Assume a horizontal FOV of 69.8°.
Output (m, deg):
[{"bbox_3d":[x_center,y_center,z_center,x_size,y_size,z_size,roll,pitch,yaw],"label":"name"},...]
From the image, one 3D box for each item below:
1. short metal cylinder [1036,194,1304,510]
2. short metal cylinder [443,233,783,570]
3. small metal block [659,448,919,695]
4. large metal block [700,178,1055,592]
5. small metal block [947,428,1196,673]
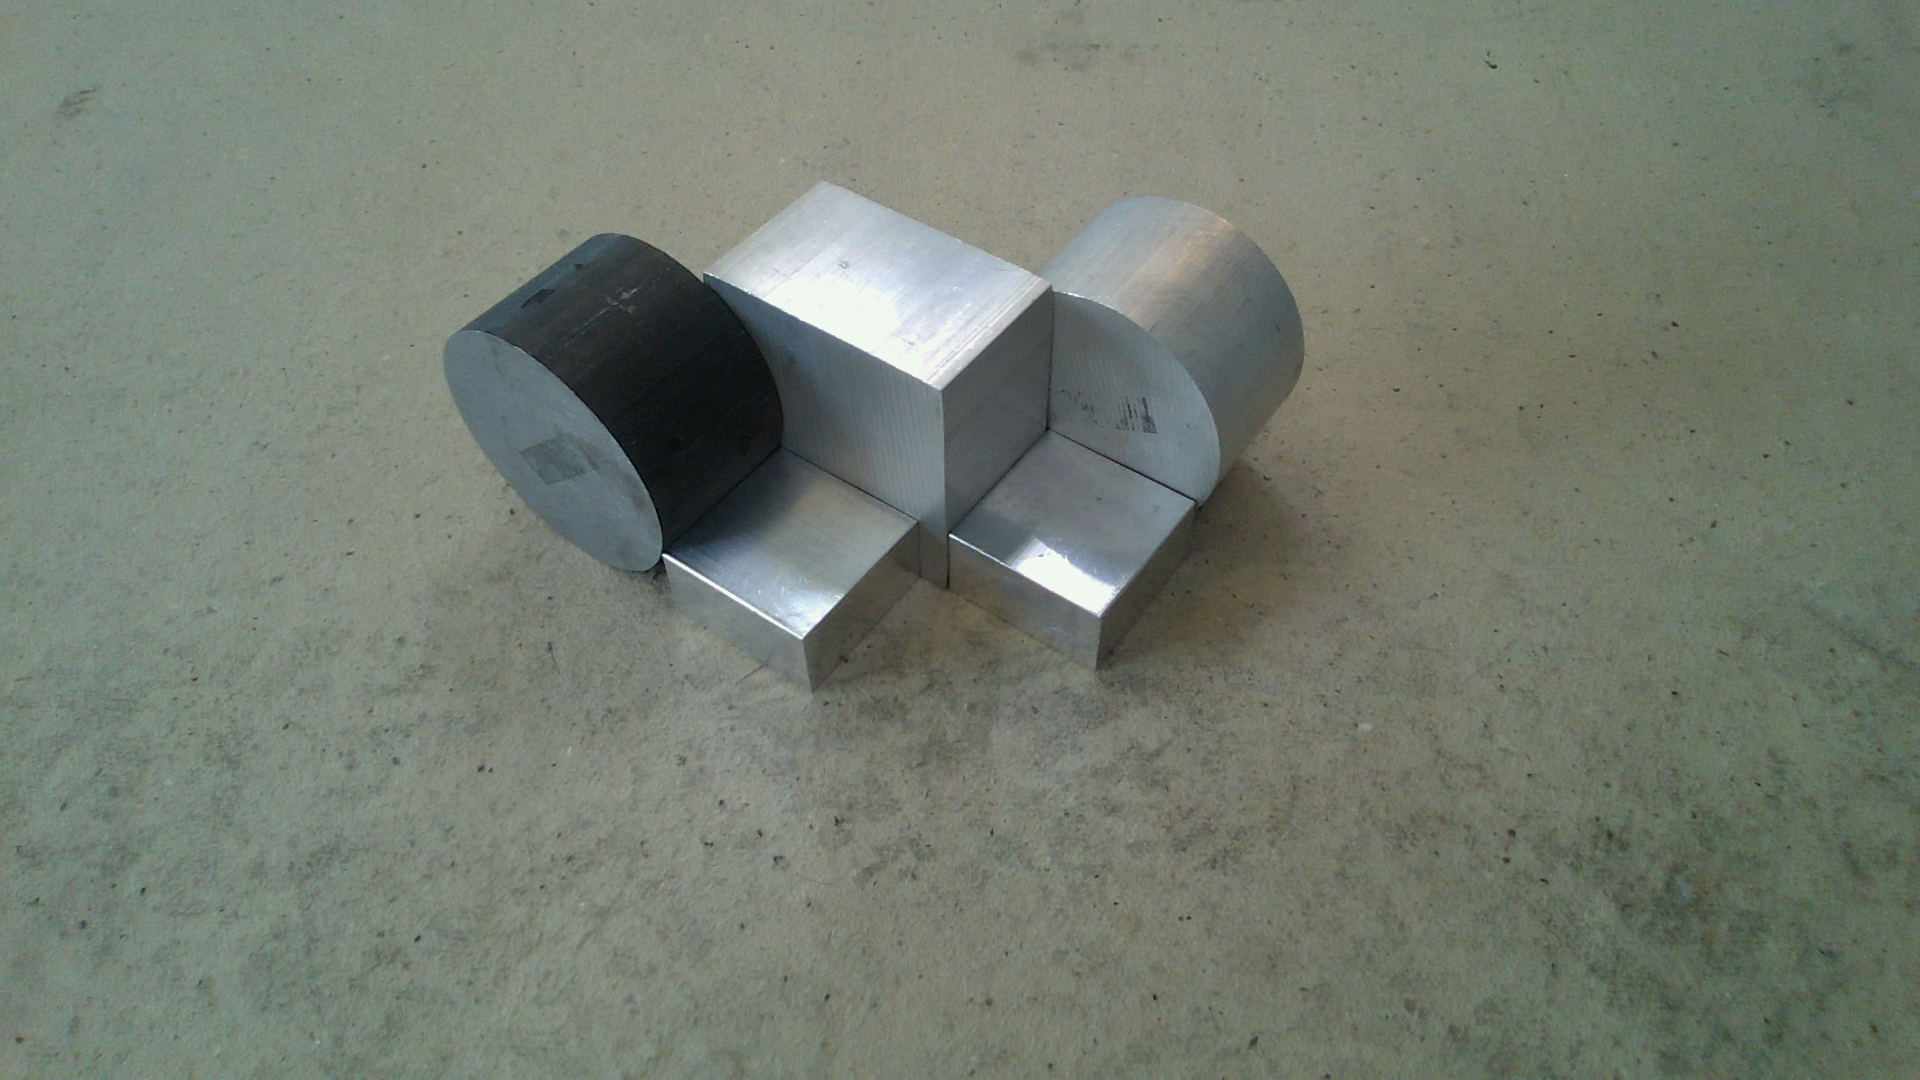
[{"bbox_3d":[0.052,-0.052,0.400,0.080,0.080,0.050,29,56,22],"label":"short metal cylinder"},{"bbox_3d":[-0.097,-0.038,0.388,0.080,0.080,0.050,28,56,22],"label":"short metal cylinder"},{"bbox_3d":[-0.047,0.007,0.386,0.050,0.025,0.050,28,55,22],"label":"small metal block"},{"bbox_3d":[-0.022,-0.044,0.394,0.080,0.080,0.050,28,55,22],"label":"large metal block"},{"bbox_3d":[0.031,0.002,0.391,0.050,0.025,0.050,28,55,22],"label":"small metal block"}]
